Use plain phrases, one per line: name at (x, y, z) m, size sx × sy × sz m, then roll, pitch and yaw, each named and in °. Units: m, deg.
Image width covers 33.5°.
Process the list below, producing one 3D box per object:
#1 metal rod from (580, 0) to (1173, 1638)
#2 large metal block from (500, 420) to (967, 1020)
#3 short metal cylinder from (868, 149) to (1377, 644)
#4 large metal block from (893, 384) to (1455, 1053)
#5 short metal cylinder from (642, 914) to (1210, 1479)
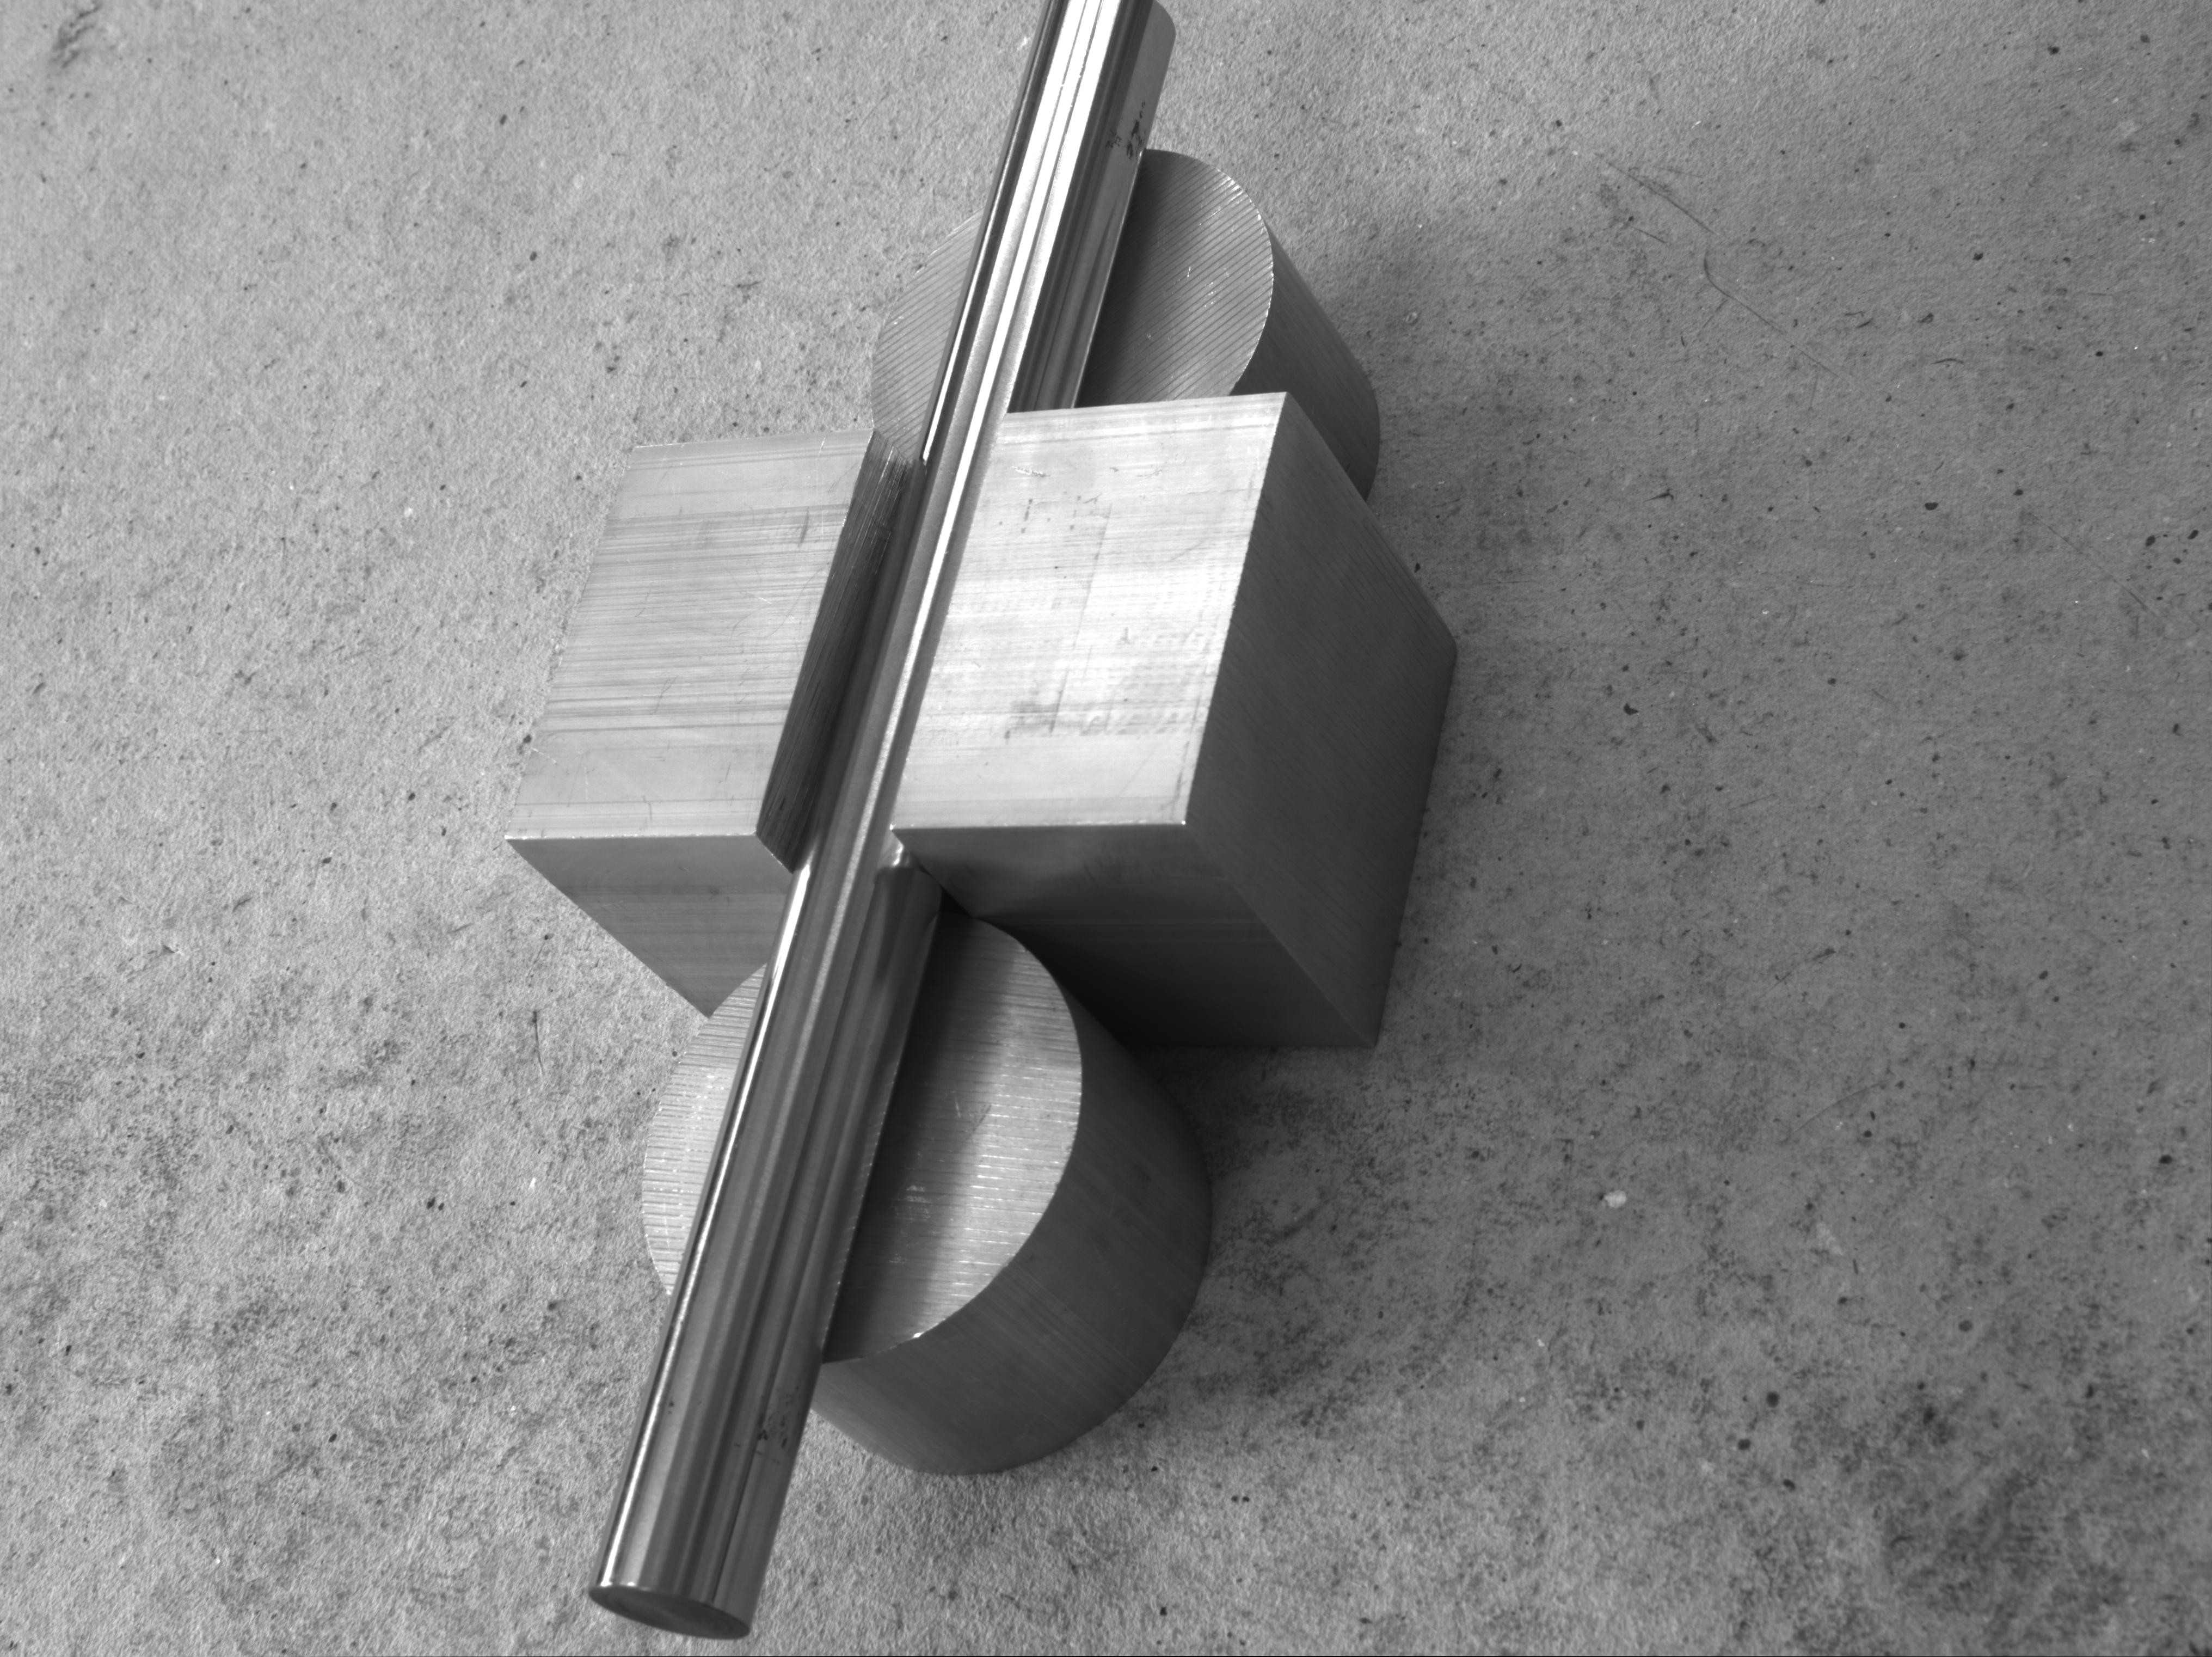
metal rod at (-0.033, -0.016, 0.608) m, size 0.025 × 0.025 × 0.300 m, roll -1°, pitch 61°, yaw 28°
large metal block at (-0.053, -0.015, 0.648) m, size 0.050 × 0.080 × 0.080 m, roll -1°, pitch 61°, yaw 28°
short metal cylinder at (0.003, -0.077, 0.676) m, size 0.080 × 0.050 × 0.080 m, roll -14°, pitch 55°, yaw 21°
large metal block at (0.014, -0.016, 0.613) m, size 0.050 × 0.080 × 0.080 m, roll -1°, pitch 61°, yaw 28°
short metal cylinder at (-0.029, 0.061, 0.609) m, size 0.080 × 0.050 × 0.080 m, roll -14°, pitch 55°, yaw 21°
